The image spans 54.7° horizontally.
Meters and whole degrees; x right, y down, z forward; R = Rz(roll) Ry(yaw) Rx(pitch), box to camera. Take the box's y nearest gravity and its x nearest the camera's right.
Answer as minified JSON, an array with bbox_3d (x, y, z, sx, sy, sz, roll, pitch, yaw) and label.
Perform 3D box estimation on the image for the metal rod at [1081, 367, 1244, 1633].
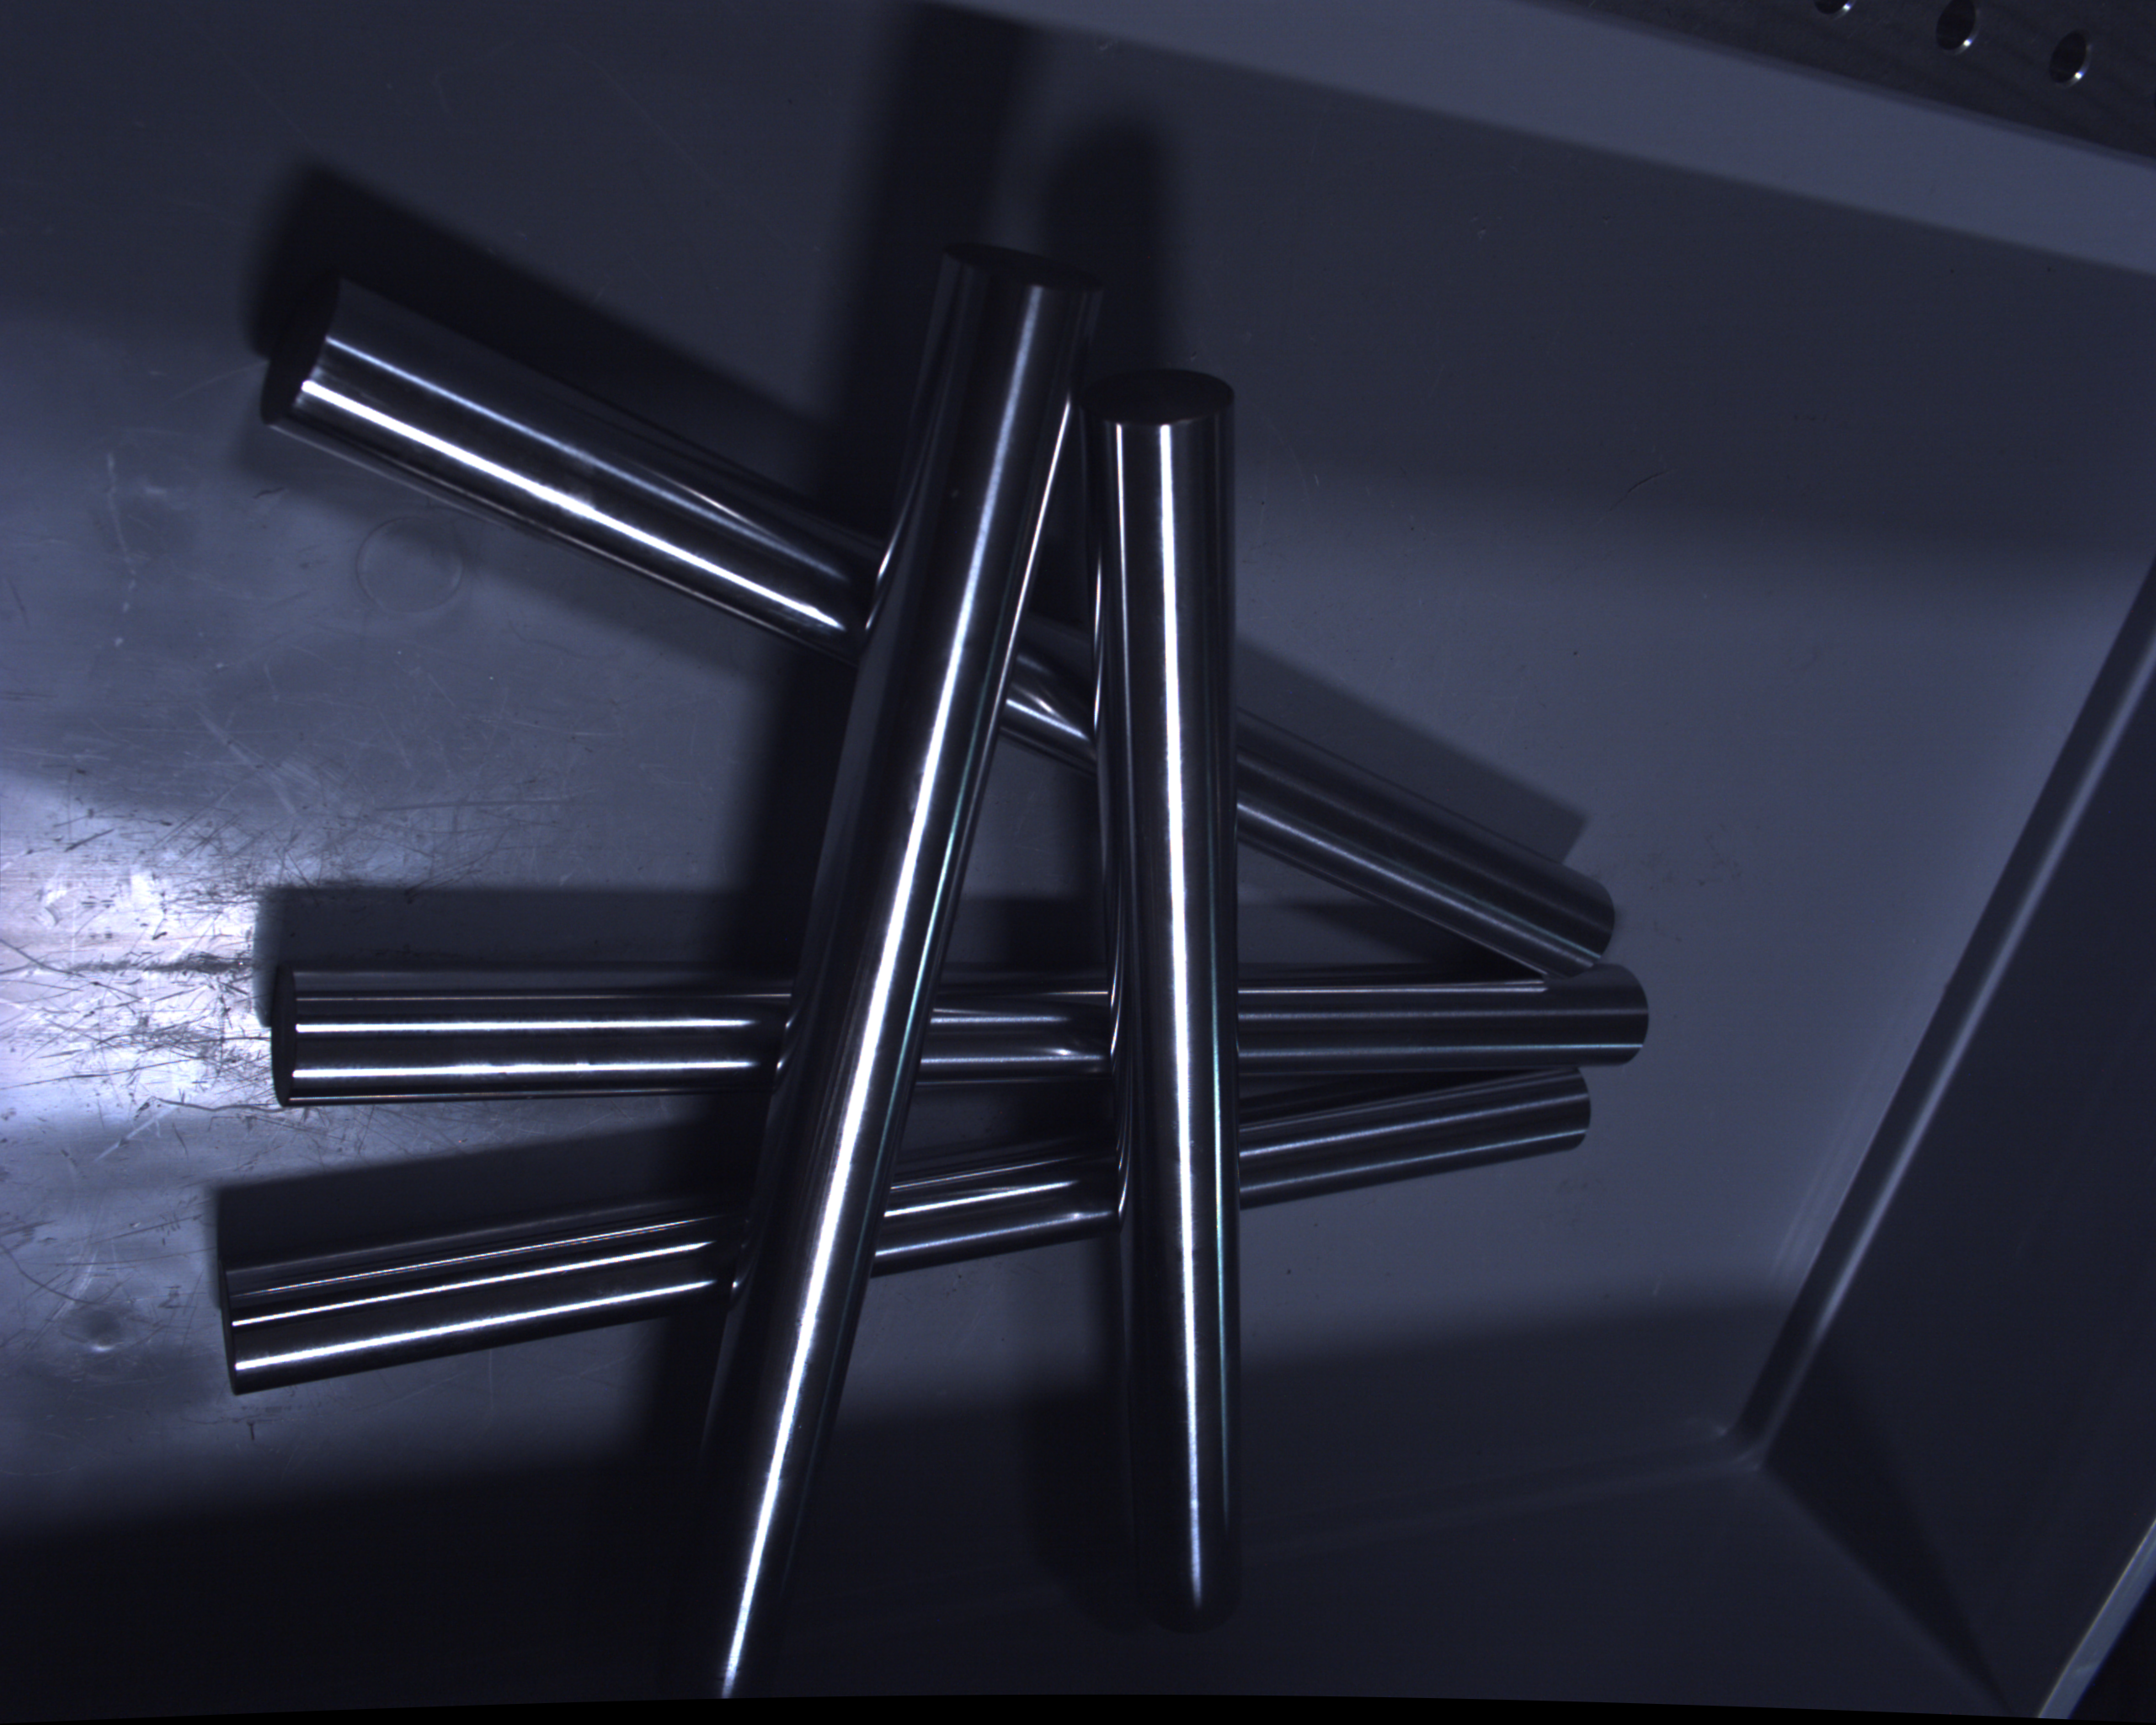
[{"bbox_3d":[0.020,0.049,0.417,0.025,0.025,0.298,-17,125,-19],"label":"metal rod"}]

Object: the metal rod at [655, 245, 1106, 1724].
[{"bbox_3d":[-0.042,0.041,0.377,0.025,0.025,0.298,0,119,-29],"label":"metal rod"}]

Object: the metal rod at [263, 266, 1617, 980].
[{"bbox_3d":[0.001,-0.030,0.390,0.302,0.025,0.025,22,107,-37],"label":"metal rod"}]

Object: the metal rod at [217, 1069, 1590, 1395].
[{"bbox_3d":[-0.018,0.071,0.442,0.303,0.025,0.025,-5,121,-26],"label":"metal rod"}]

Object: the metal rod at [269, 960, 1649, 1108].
[{"bbox_3d":[-0.003,0.033,0.426,0.303,0.025,0.025,2,118,-30],"label":"metal rod"}]
